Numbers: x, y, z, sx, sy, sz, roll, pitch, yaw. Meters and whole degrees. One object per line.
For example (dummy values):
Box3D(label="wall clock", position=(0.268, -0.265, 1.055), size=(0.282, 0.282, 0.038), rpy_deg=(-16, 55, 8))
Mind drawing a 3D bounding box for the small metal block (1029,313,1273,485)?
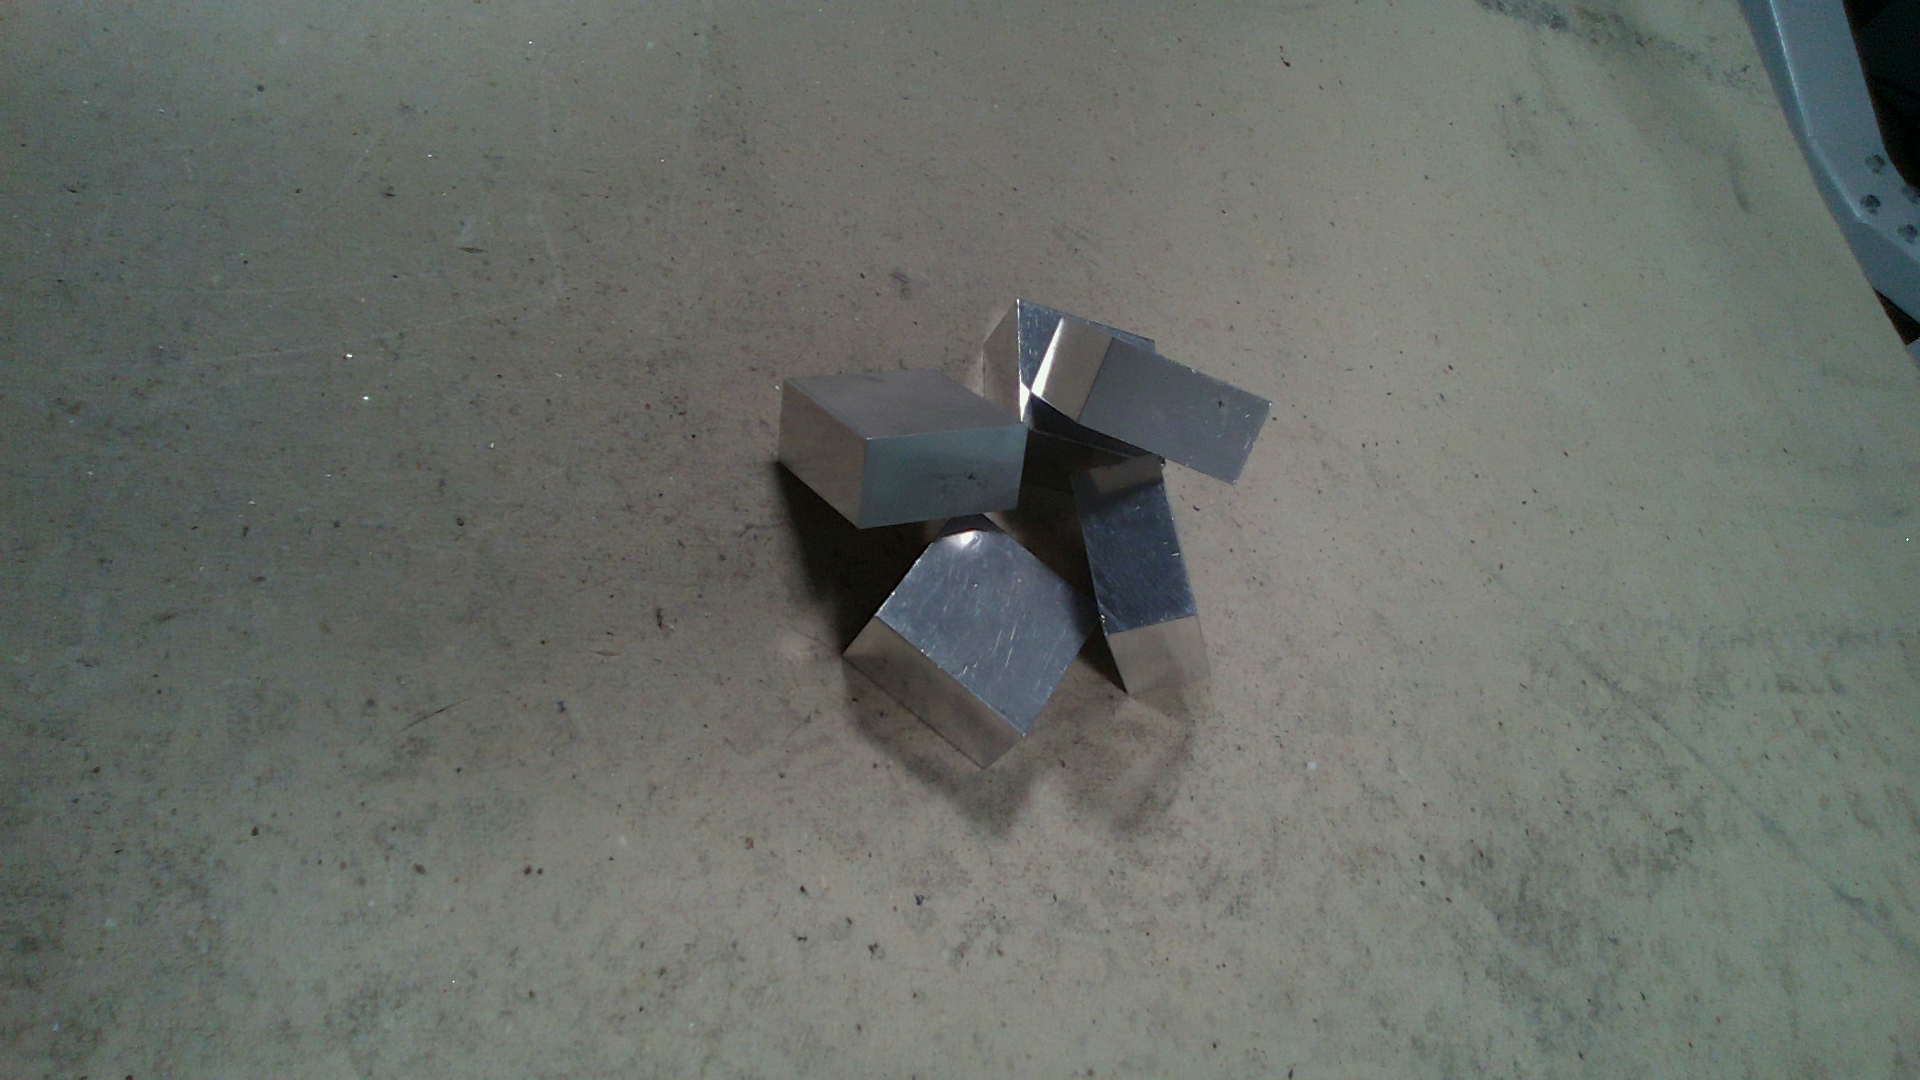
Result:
Box3D(label="small metal block", position=(0.053, -0.041, 0.394), size=(0.050, 0.025, 0.050), rpy_deg=(20, 11, -17))

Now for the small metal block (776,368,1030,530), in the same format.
Box3D(label="small metal block", position=(-0.017, -0.027, 0.381), size=(0.050, 0.025, 0.050), rpy_deg=(-8, 28, -32))

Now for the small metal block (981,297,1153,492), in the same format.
Box3D(label="small metal block", position=(0.035, -0.043, 0.436), size=(0.050, 0.025, 0.050), rpy_deg=(13, 56, -21))

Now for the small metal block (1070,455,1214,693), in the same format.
Box3D(label="small metal block", position=(0.052, 0.010, 0.393), size=(0.025, 0.050, 0.050), rpy_deg=(-14, 62, 8))

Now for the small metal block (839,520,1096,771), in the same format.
Box3D(label="small metal block", position=(0.004, 0.025, 0.377), size=(0.050, 0.025, 0.050), rpy_deg=(39, 51, -2))

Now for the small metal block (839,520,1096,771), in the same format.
Box3D(label="small metal block", position=(0.004, 0.025, 0.377), size=(0.050, 0.025, 0.050), rpy_deg=(38, 51, -2))
